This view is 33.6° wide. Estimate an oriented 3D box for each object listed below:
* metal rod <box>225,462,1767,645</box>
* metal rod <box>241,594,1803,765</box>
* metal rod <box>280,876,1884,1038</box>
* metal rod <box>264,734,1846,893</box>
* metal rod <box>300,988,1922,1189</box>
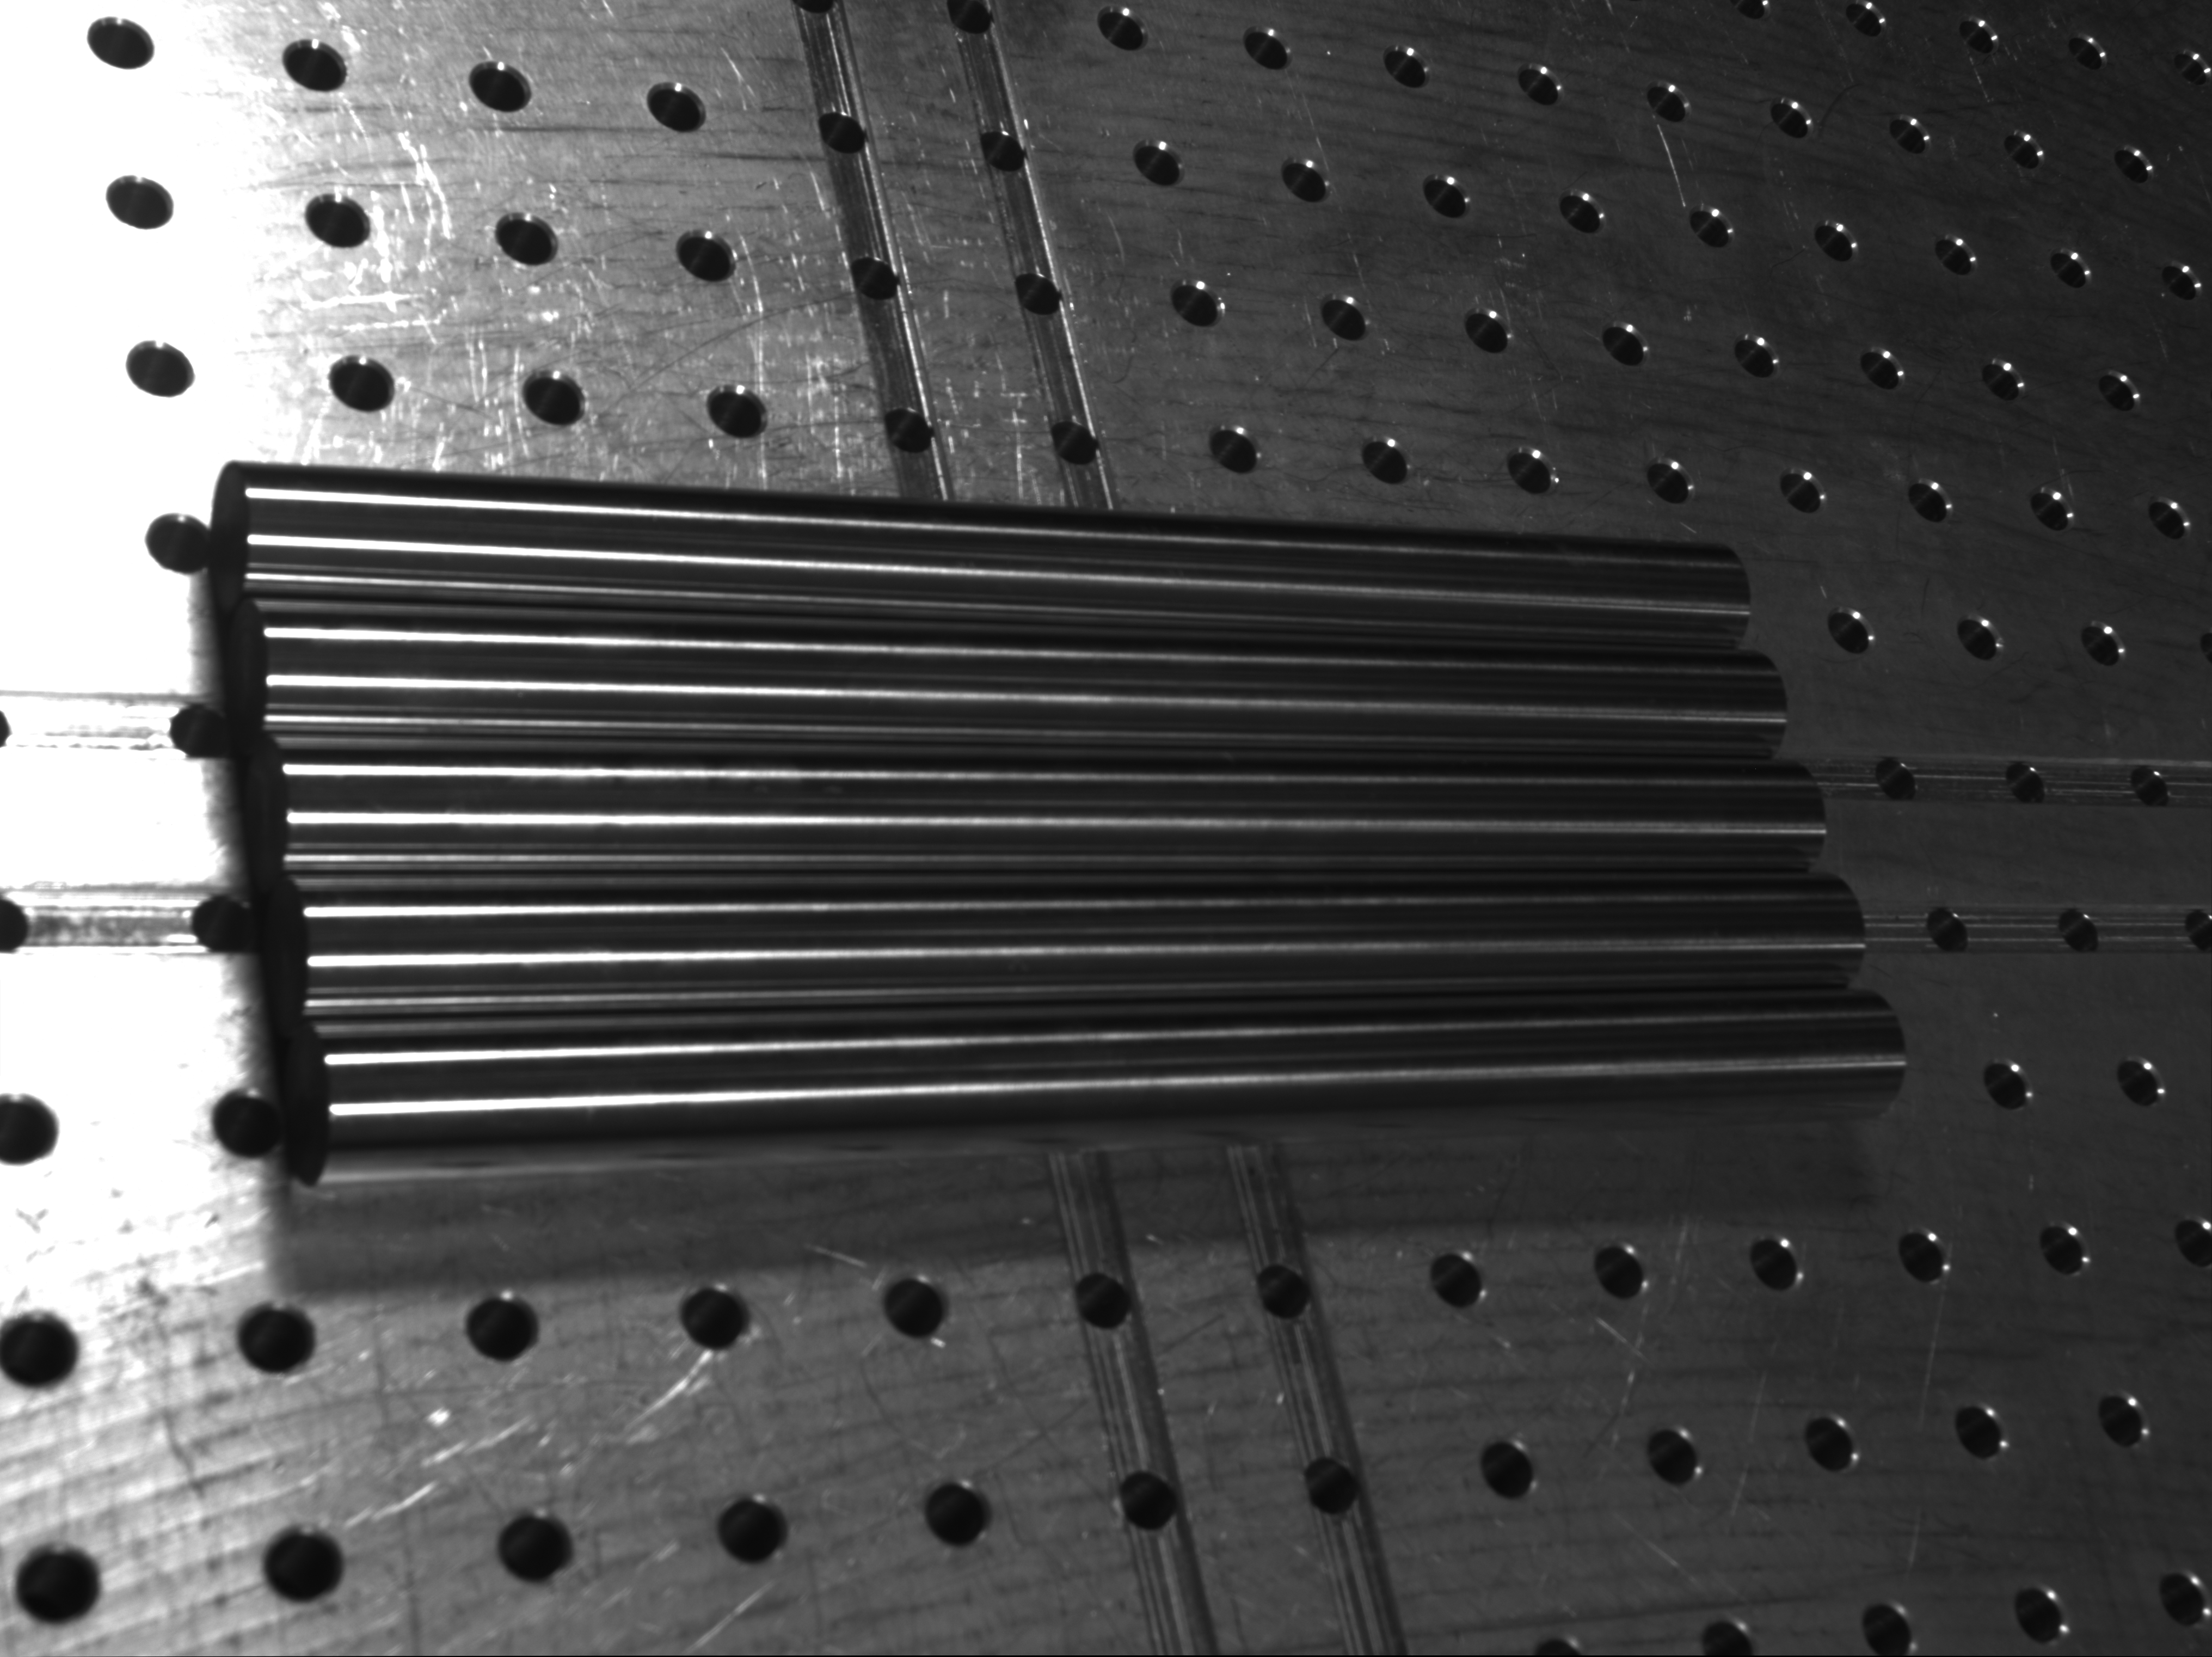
[{"bbox_3d":[-0.007,-0.046,0.667,0.301,0.025,0.025,1,61,-28],"label":"metal rod"},{"bbox_3d":[-0.002,-0.024,0.656,0.301,0.025,0.025,1,61,-28],"label":"metal rod"},{"bbox_3d":[0.009,0.021,0.634,0.301,0.025,0.025,1,61,-28],"label":"metal rod"},{"bbox_3d":[0.004,-0.001,0.645,0.301,0.025,0.025,1,61,-28],"label":"metal rod"},{"bbox_3d":[0.014,0.042,0.624,0.301,0.025,0.025,0,62,-28],"label":"metal rod"}]
